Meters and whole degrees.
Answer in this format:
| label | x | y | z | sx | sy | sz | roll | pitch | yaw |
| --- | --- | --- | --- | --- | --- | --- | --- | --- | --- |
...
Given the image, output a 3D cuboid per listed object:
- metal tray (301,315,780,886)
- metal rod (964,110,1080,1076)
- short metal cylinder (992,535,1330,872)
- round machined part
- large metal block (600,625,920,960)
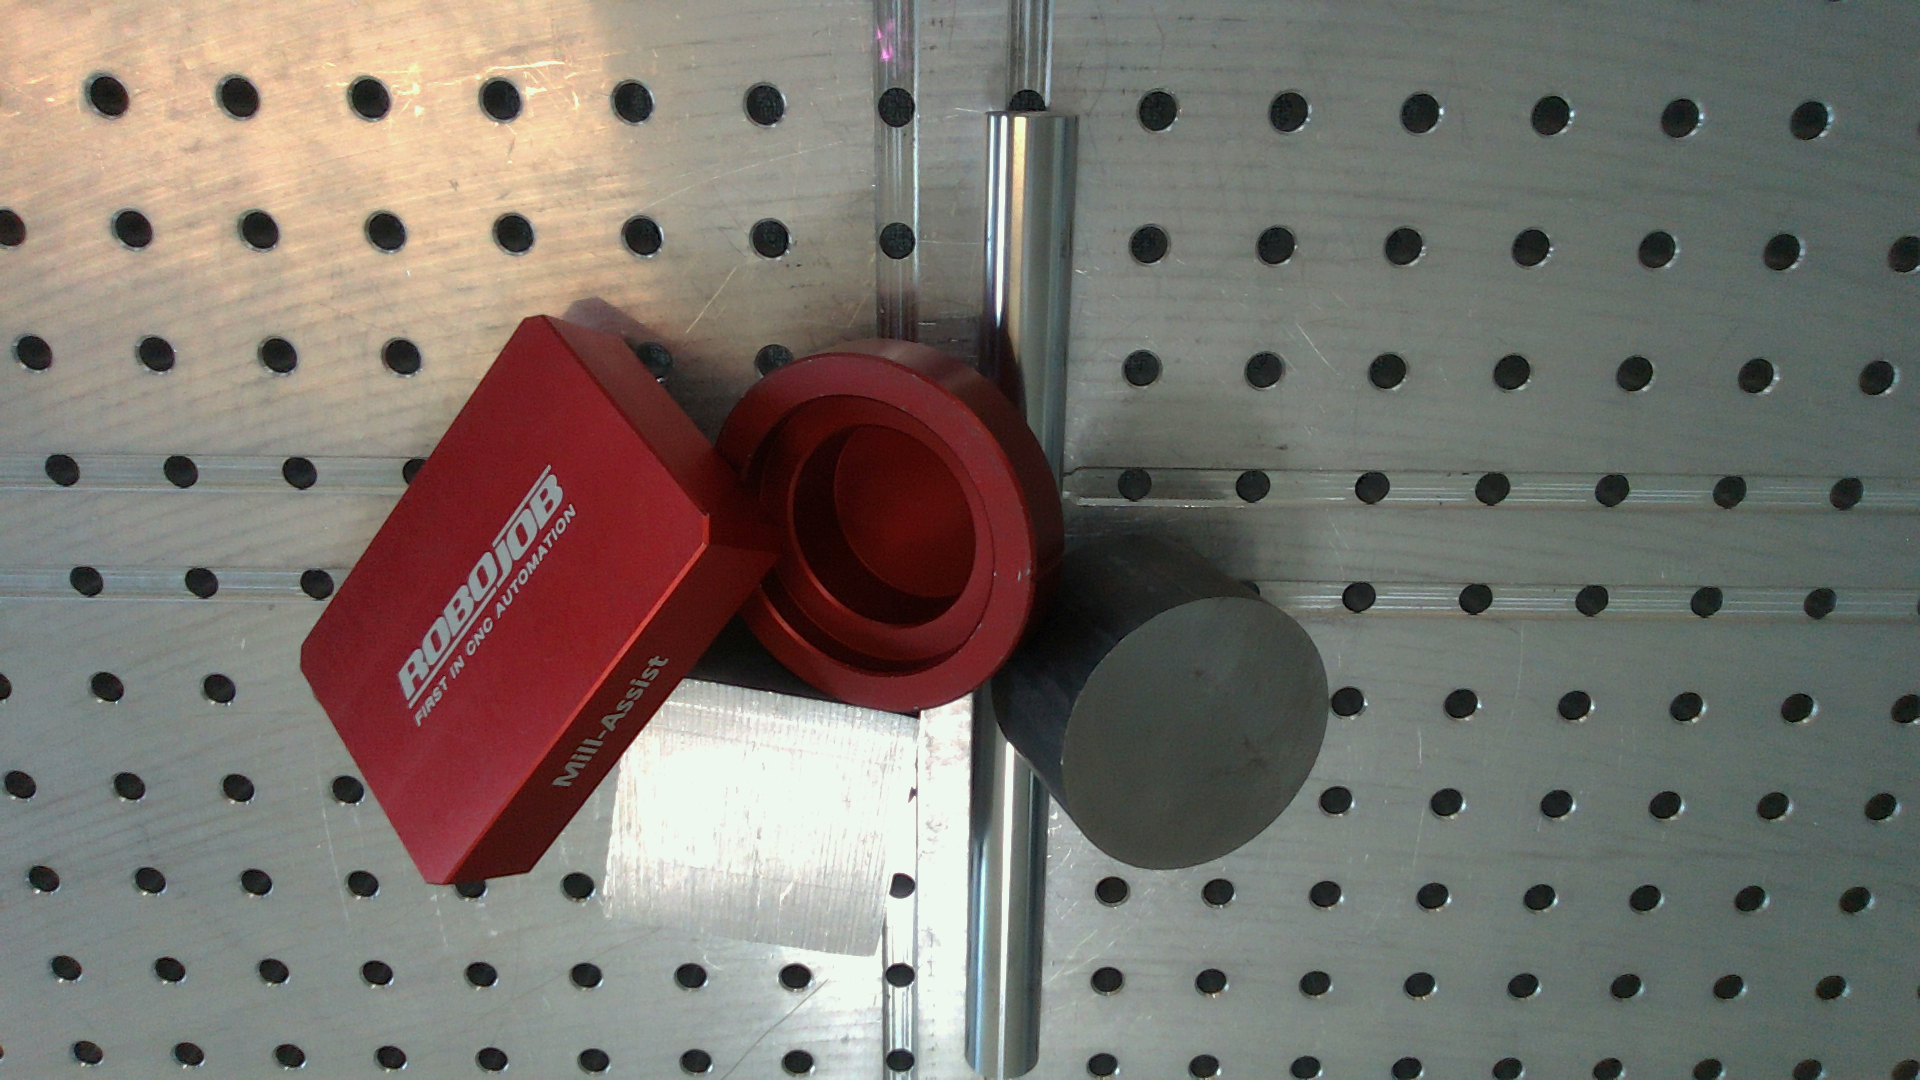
| label | x | y | z | sx | sy | sz | roll | pitch | yaw |
| --- | --- | --- | --- | --- | --- | --- | --- | --- | --- |
| metal tray | -0.118 | 0.017 | 0.373 | 0.090 | 0.030 | 0.130 | 47 | 107 | 25 |
| metal rod | 0.016 | 0.030 | 0.408 | 0.025 | 0.025 | 0.300 | 1 | 110 | 0 |
| short metal cylinder | 0.055 | 0.045 | 0.386 | 0.080 | 0.050 | 0.080 | -7 | 112 | -19 |
| round machined part | -0.017 | -0.006 | 0.371 | 0.098 | 0.042 | 0.098 | 9 | 111 | 24 |
| large metal block | -0.057 | 0.070 | 0.408 | 0.080 | 0.050 | 0.080 | 10 | 110 | -4 |
